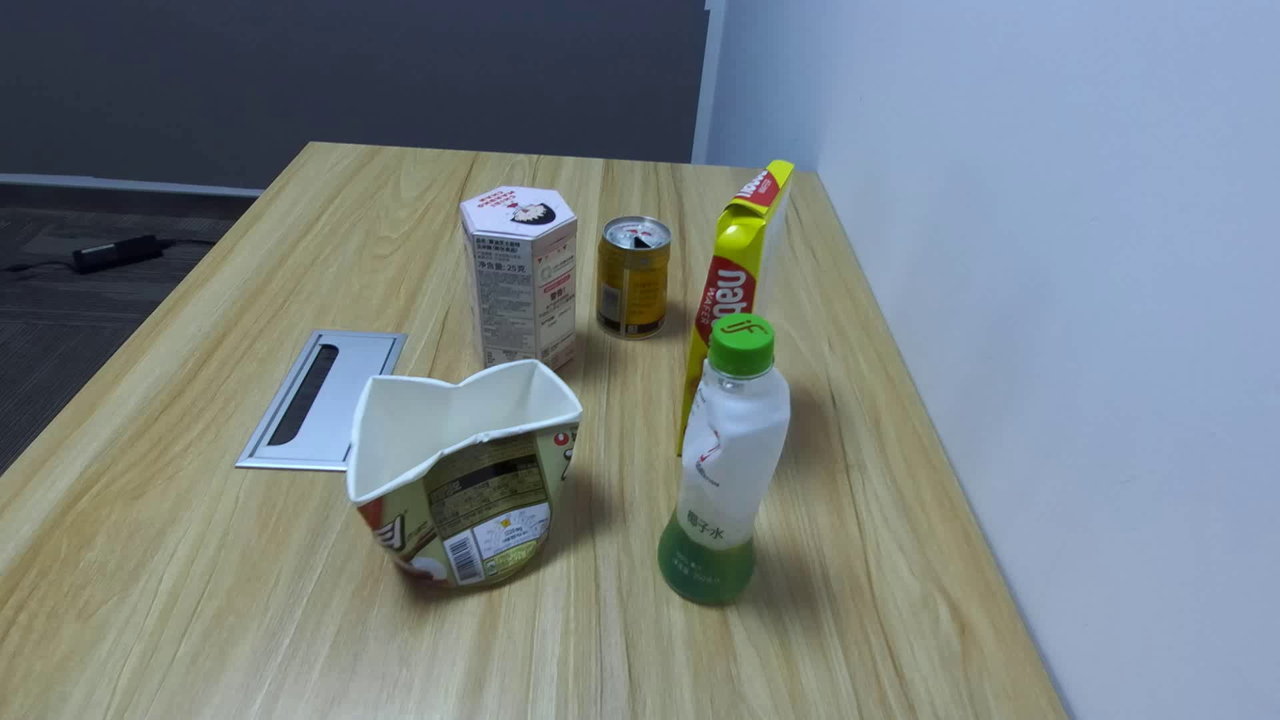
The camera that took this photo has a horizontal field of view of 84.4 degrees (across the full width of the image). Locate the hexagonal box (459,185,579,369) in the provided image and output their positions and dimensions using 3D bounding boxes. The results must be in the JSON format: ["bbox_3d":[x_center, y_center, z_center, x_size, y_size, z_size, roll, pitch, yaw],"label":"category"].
[{"bbox_3d":[-0.097,-0.061,0.573,0.083,0.136,0.091,28,44,26],"label":"hexagonal box"}]

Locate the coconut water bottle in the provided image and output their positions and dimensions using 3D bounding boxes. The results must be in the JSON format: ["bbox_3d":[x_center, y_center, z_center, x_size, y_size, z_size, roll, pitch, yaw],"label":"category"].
[{"bbox_3d":[0.049,0.058,0.398,0.069,0.187,0.069,3,39,-2],"label":"coconut water bottle"}]

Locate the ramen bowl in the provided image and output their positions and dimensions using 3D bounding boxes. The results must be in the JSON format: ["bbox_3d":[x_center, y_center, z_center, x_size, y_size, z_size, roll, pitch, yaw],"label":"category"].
[{"bbox_3d":[-0.103,0.069,0.446,0.128,0.093,0.111,-6,40,-12],"label":"ramen bowl"}]

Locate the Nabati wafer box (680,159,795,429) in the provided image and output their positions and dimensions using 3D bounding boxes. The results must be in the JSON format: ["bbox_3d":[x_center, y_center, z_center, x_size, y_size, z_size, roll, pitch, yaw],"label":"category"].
[{"bbox_3d":[0.063,-0.032,0.496,0.042,0.205,0.113,15,40,8],"label":"Nabati wafer box"}]

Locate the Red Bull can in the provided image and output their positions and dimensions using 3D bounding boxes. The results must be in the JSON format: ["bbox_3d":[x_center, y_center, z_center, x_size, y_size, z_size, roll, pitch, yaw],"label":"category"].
[{"bbox_3d":[-0.004,-0.072,0.629,0.068,0.093,0.068,3,33,-2],"label":"Red Bull can"}]
